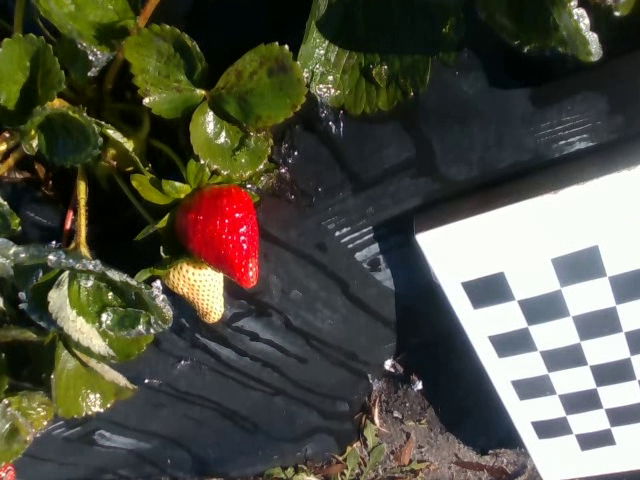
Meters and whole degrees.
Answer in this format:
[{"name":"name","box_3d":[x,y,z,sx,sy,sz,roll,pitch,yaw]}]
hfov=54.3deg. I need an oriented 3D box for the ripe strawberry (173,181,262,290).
[{"name":"ripe strawberry","box_3d":[-0.044,0.001,0.317,0.042,0.061,0.046,-31,-10,30]}]
